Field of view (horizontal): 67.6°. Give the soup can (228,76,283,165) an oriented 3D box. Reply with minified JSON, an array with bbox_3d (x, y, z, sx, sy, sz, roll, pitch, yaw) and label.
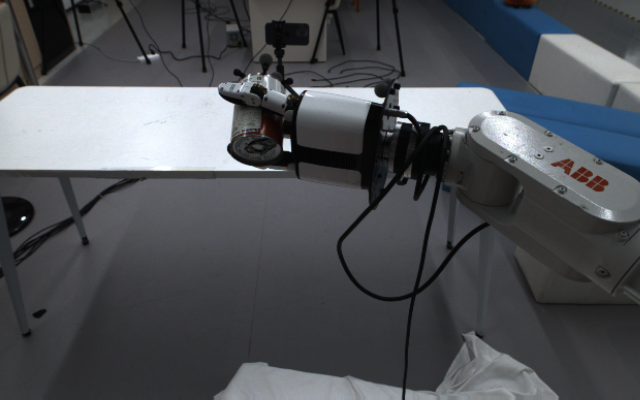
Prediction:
[{"bbox_3d":[-0.079,-0.105,0.625,0.067,0.067,0.101,1,61,-2],"label":"soup can"}]
